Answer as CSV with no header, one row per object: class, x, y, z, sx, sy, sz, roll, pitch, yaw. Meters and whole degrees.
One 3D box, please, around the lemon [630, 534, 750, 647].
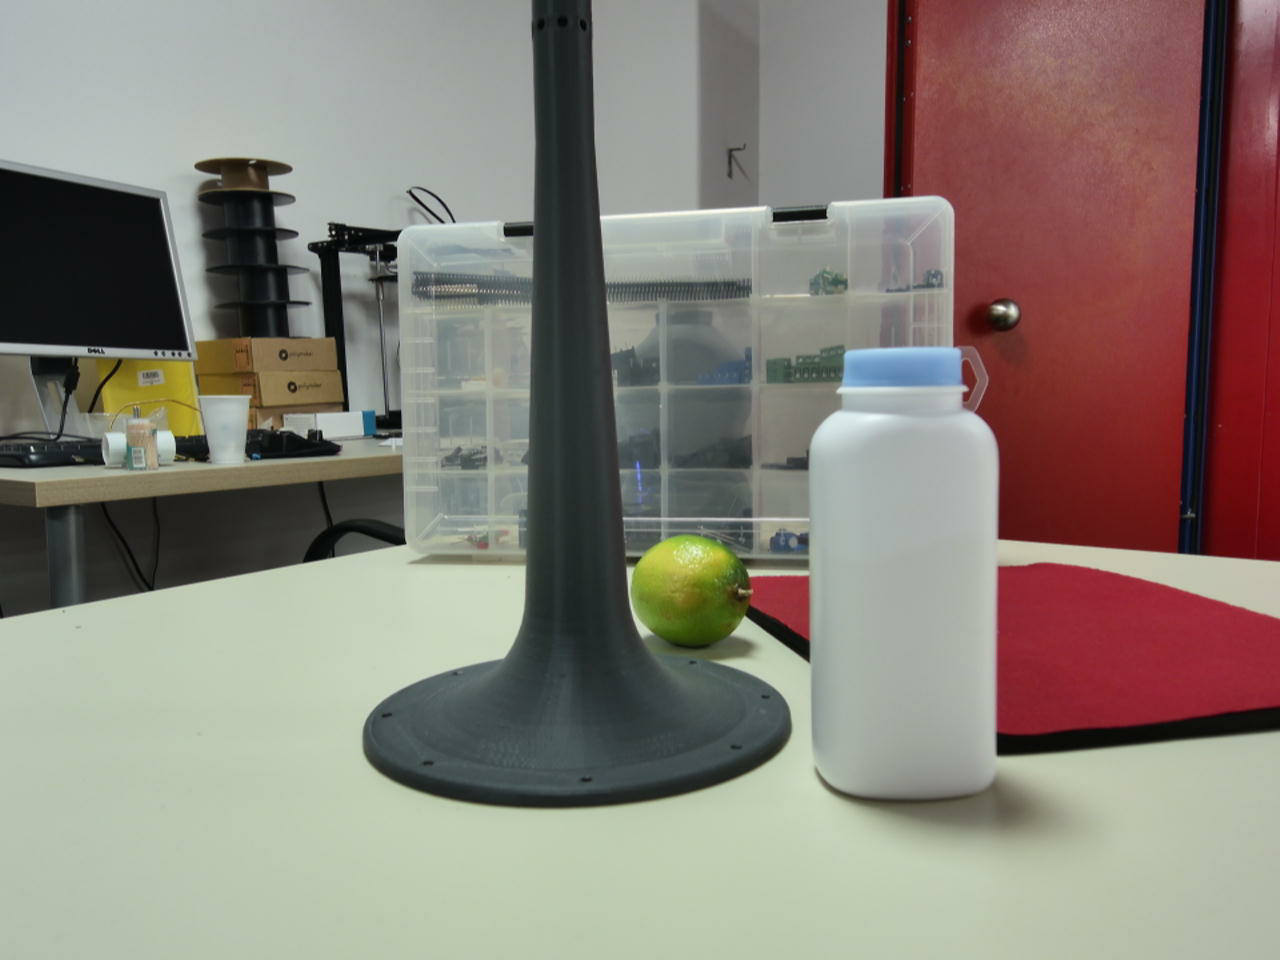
lemon,0.023,0.051,0.467,0.054,0.050,0.055,-1,3,-3
